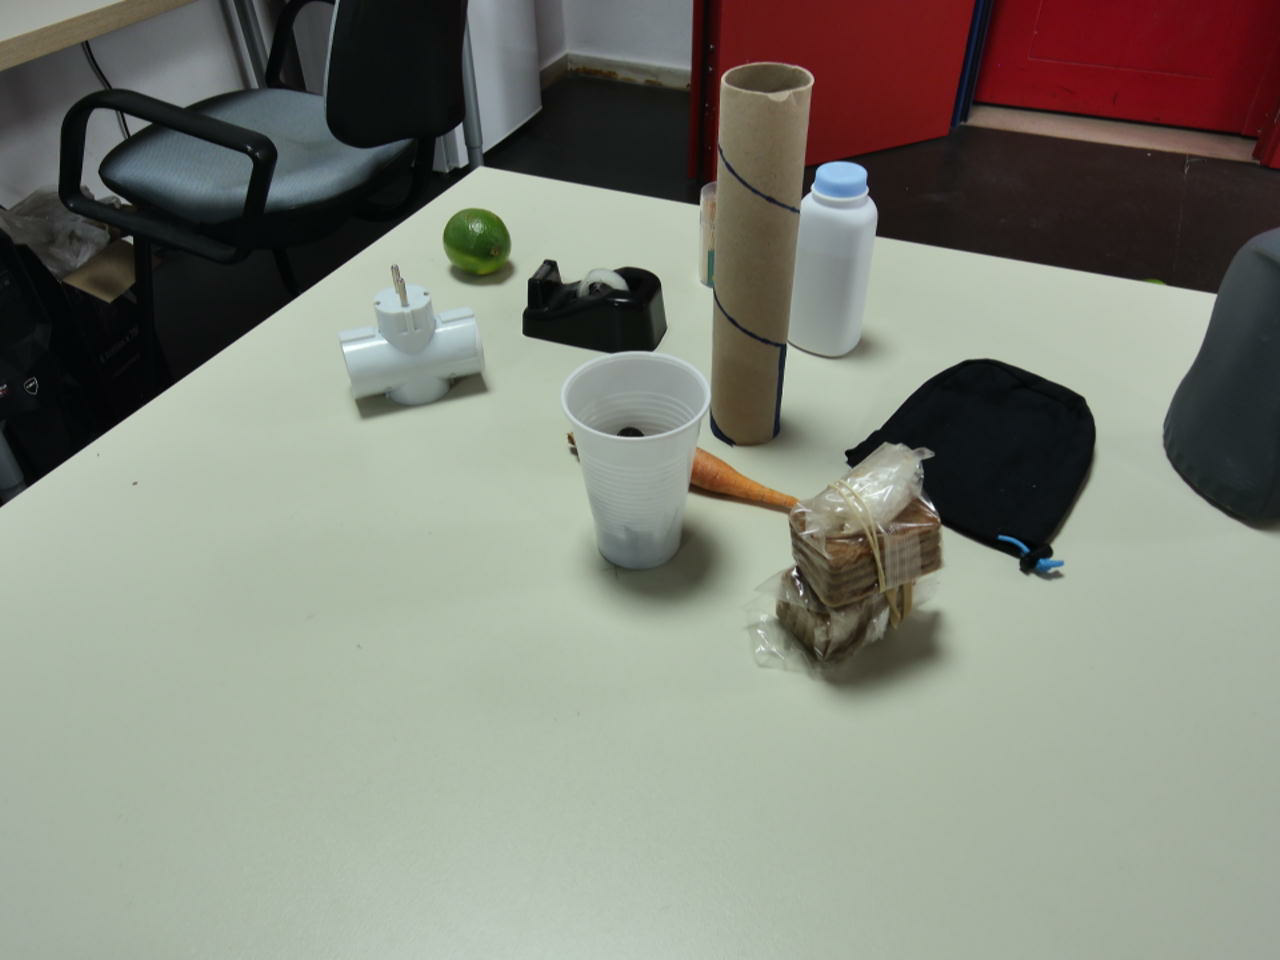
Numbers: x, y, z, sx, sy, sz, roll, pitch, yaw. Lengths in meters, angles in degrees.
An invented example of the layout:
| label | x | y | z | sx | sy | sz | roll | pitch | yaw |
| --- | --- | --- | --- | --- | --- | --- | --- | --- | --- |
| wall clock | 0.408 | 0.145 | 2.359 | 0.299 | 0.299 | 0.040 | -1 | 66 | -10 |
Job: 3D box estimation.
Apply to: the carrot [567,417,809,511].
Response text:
| label | x | y | z | sx | sy | sz | roll | pitch | yaw |
| --- | --- | --- | --- | --- | --- | --- | --- | --- | --- |
| carrot | 0.029 | -0.011 | 0.622 | 0.163 | 0.029 | 0.031 | 16 | 41 | 19 |
